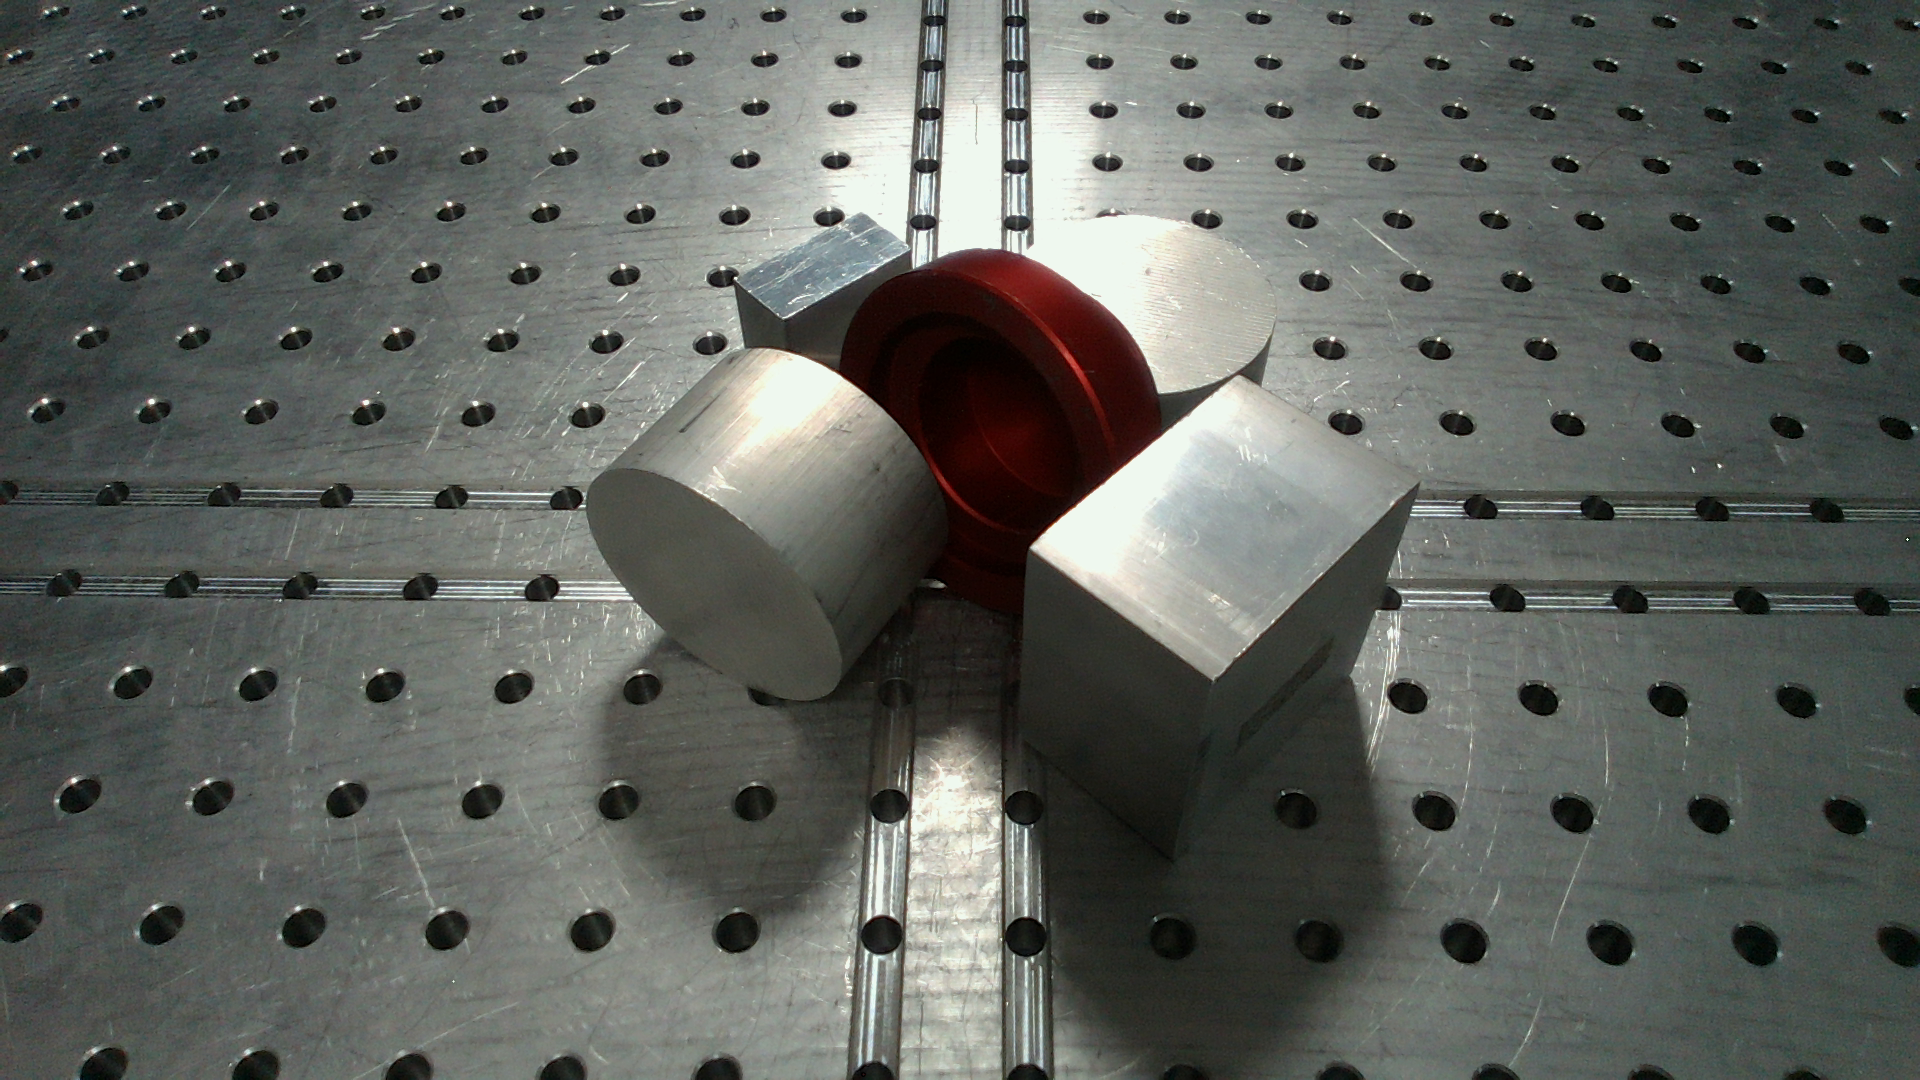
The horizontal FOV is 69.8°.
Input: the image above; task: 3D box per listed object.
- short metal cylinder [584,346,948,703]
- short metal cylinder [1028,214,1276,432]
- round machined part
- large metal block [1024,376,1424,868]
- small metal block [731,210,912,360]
[{"bbox_3d":[-0.050,-0.003,0.361,0.080,0.080,0.050,25,54,20],"label":"short metal cylinder"},{"bbox_3d":[0.053,-0.055,0.425,0.080,0.050,0.080,0,50,0],"label":"short metal cylinder"},{"bbox_3d":[0.015,-0.033,0.375,0.098,0.098,0.042,34,45,25],"label":"round machined part"},{"bbox_3d":[0.062,0.020,0.342,0.050,0.080,0.080,36,59,26],"label":"large metal block"},{"bbox_3d":[-0.041,-0.068,0.435,0.050,0.050,0.025,-35,58,-26],"label":"small metal block"}]
